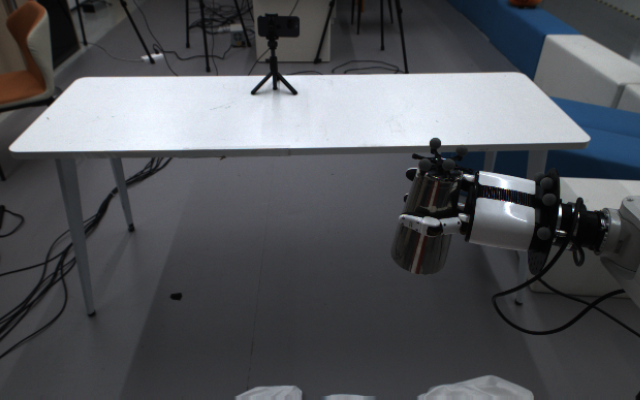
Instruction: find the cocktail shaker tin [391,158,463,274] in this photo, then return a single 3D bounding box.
[{"bbox_3d":[0.171,0.021,0.753,0.093,0.170,0.093,4,36,-3],"label":"cocktail shaker tin"}]
